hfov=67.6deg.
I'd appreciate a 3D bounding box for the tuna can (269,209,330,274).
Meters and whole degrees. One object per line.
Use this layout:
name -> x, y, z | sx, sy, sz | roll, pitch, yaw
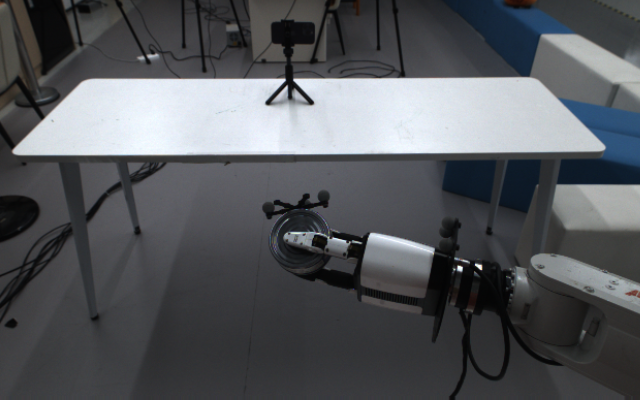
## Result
tuna can -> -0.021, 0.061, 0.649 | 0.085, 0.034, 0.085 | -4, 68, 9
